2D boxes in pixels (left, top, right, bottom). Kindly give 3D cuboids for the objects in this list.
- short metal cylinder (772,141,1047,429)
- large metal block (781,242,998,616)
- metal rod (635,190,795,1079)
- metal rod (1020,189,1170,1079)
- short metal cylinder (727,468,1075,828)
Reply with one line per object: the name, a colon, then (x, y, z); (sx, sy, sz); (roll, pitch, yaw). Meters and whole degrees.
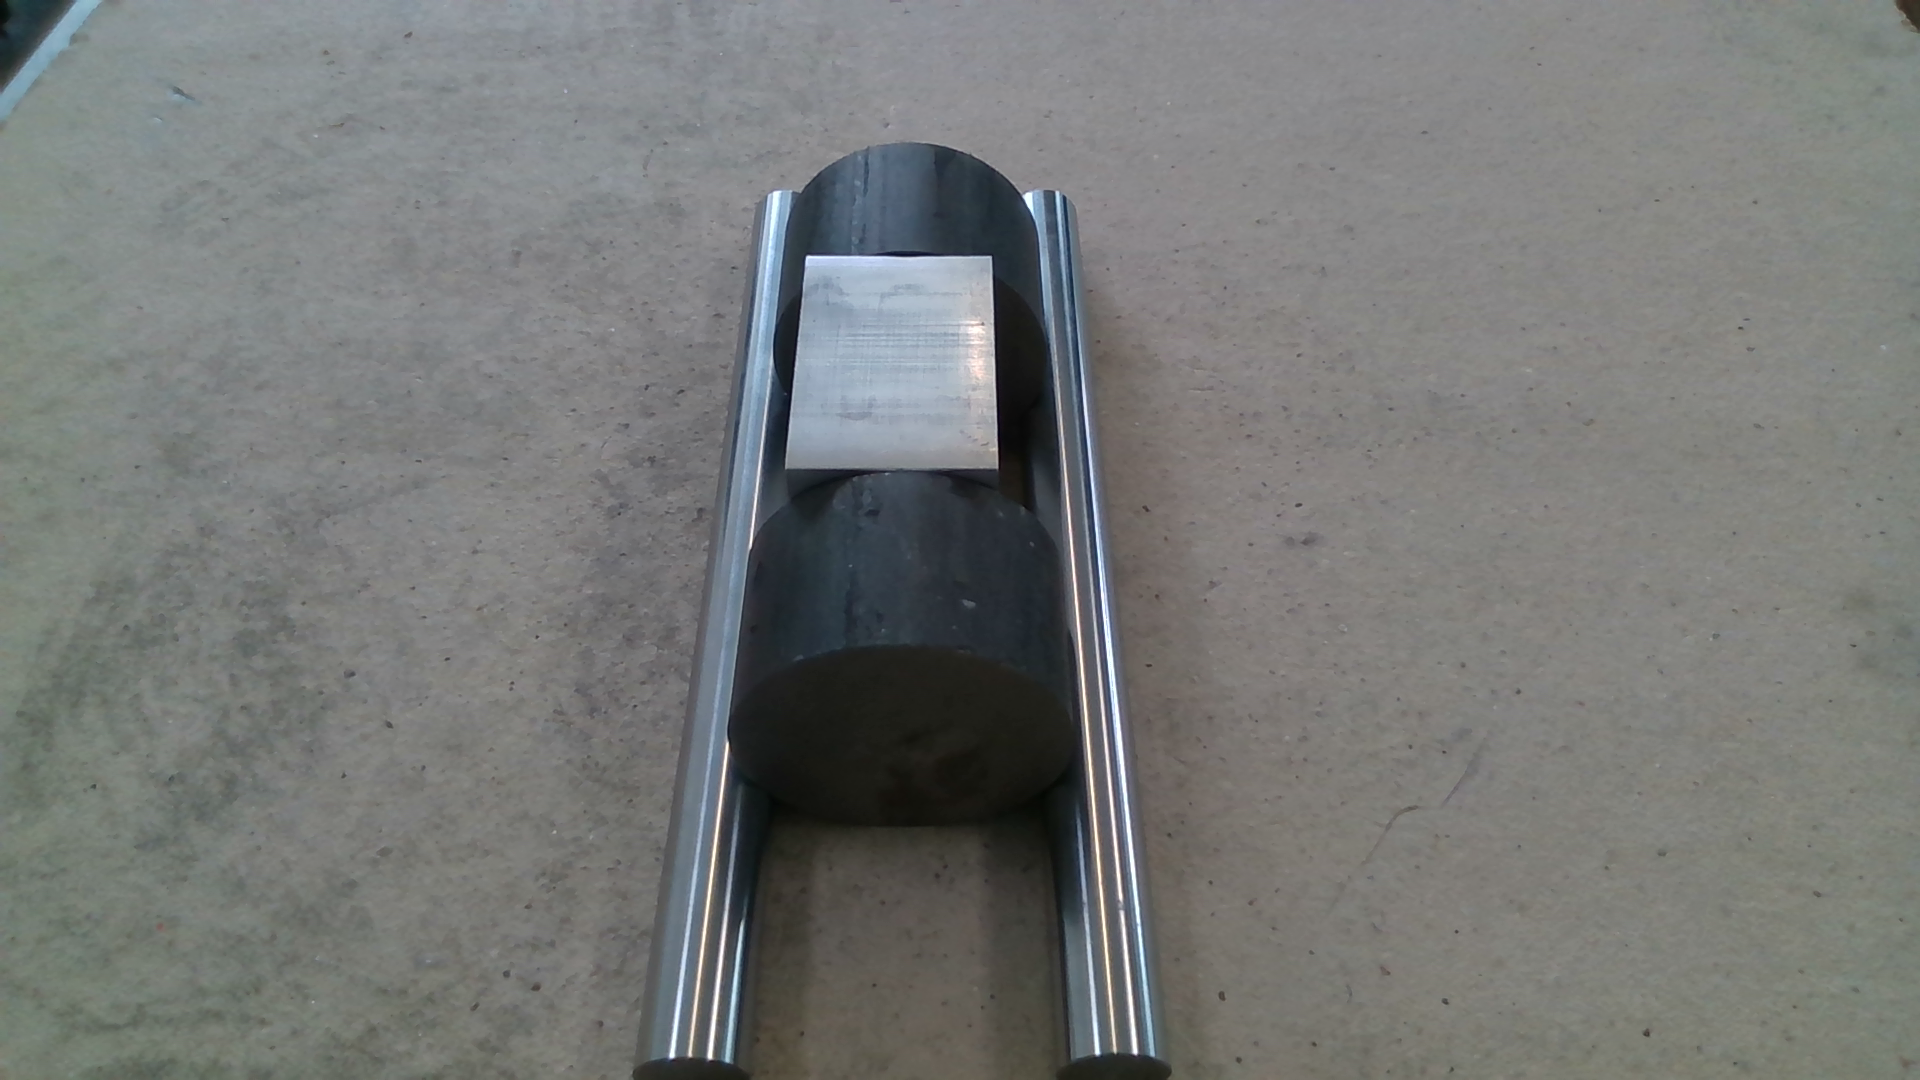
short metal cylinder: (-0.015, -0.072, 0.418); (0.080, 0.080, 0.050); (-1, 50, -1)
large metal block: (-0.016, -0.024, 0.375); (0.050, 0.080, 0.080); (0, 50, 0)
metal rod: (-0.059, 0.001, 0.394); (0.025, 0.025, 0.299); (-1, 50, 0)
metal rod: (0.031, 0.000, 0.394); (0.025, 0.025, 0.299); (-1, 50, 0)
short metal cylinder: (-0.014, 0.028, 0.334); (0.080, 0.080, 0.050); (-1, 50, -1)
